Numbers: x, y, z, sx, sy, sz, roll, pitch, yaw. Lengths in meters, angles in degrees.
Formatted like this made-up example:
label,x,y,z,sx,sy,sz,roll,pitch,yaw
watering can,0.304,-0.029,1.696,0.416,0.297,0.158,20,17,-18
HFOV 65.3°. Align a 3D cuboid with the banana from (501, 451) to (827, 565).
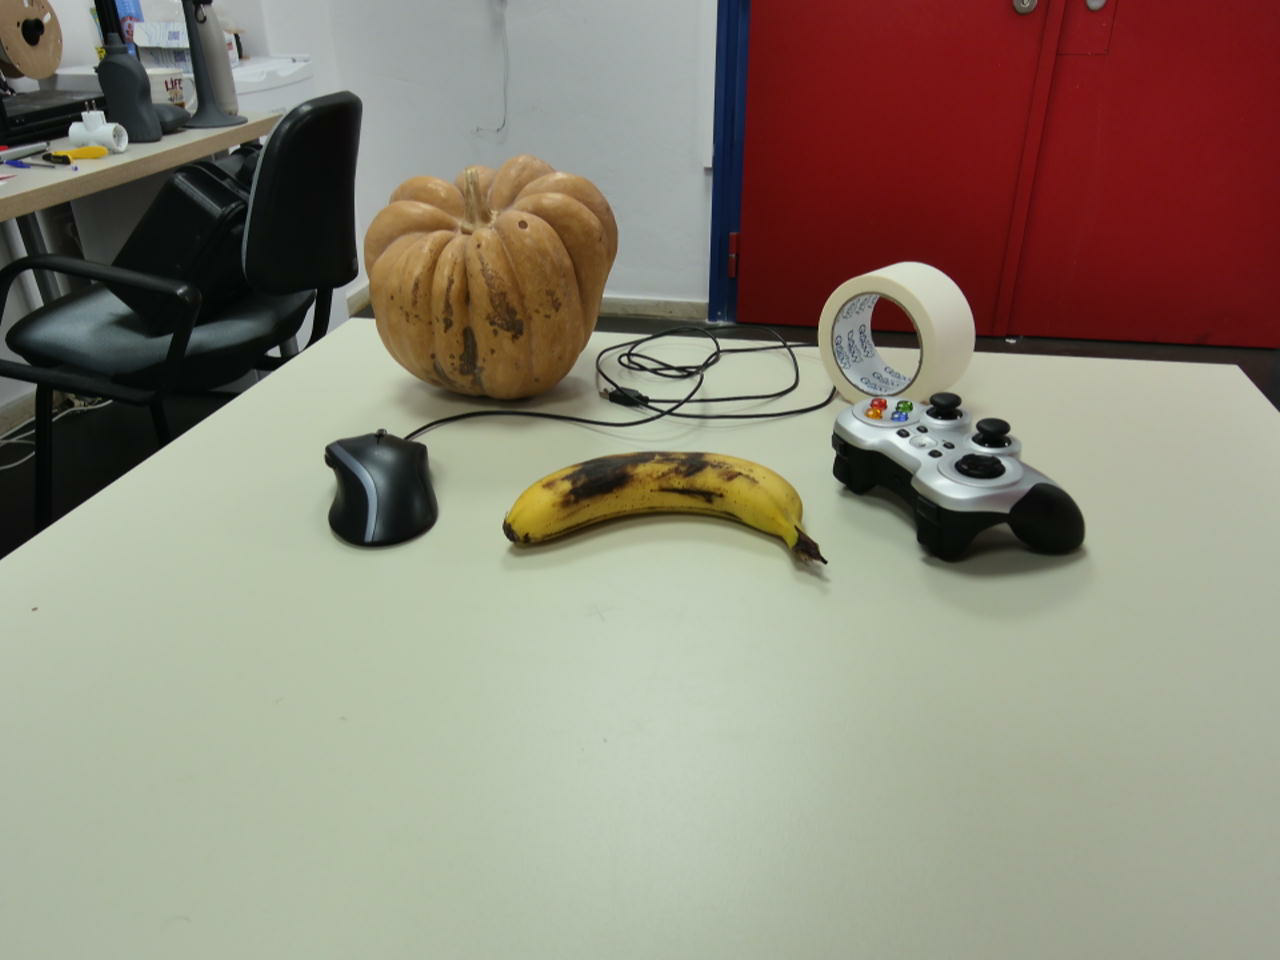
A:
label,x,y,z,sx,sy,sz,roll,pitch,yaw
banana,0.017,0.013,0.605,0.187,0.039,0.094,5,26,9
